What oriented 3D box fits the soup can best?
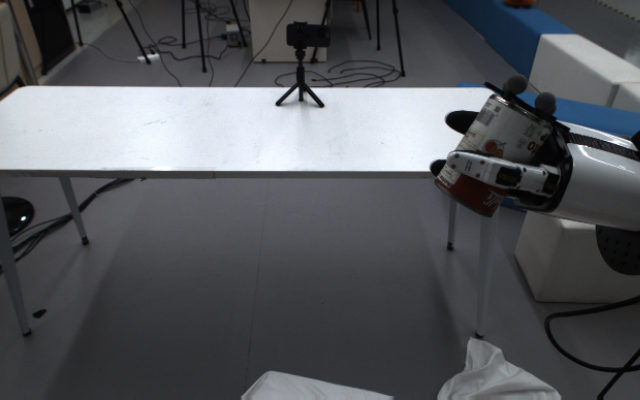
[{"bbox_3d":[0.170,-0.043,0.476,0.067,0.101,0.067,27,18,-9],"label":"soup can"}]
